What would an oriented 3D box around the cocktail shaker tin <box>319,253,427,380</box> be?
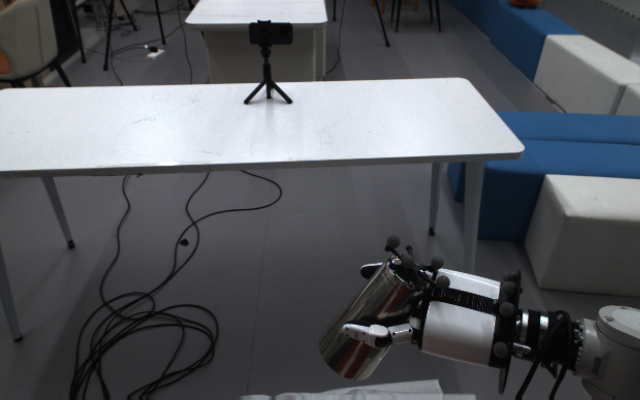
[{"bbox_3d":[0.078,0.153,0.671,0.093,0.170,0.093,25,29,-15],"label":"cocktail shaker tin"}]
